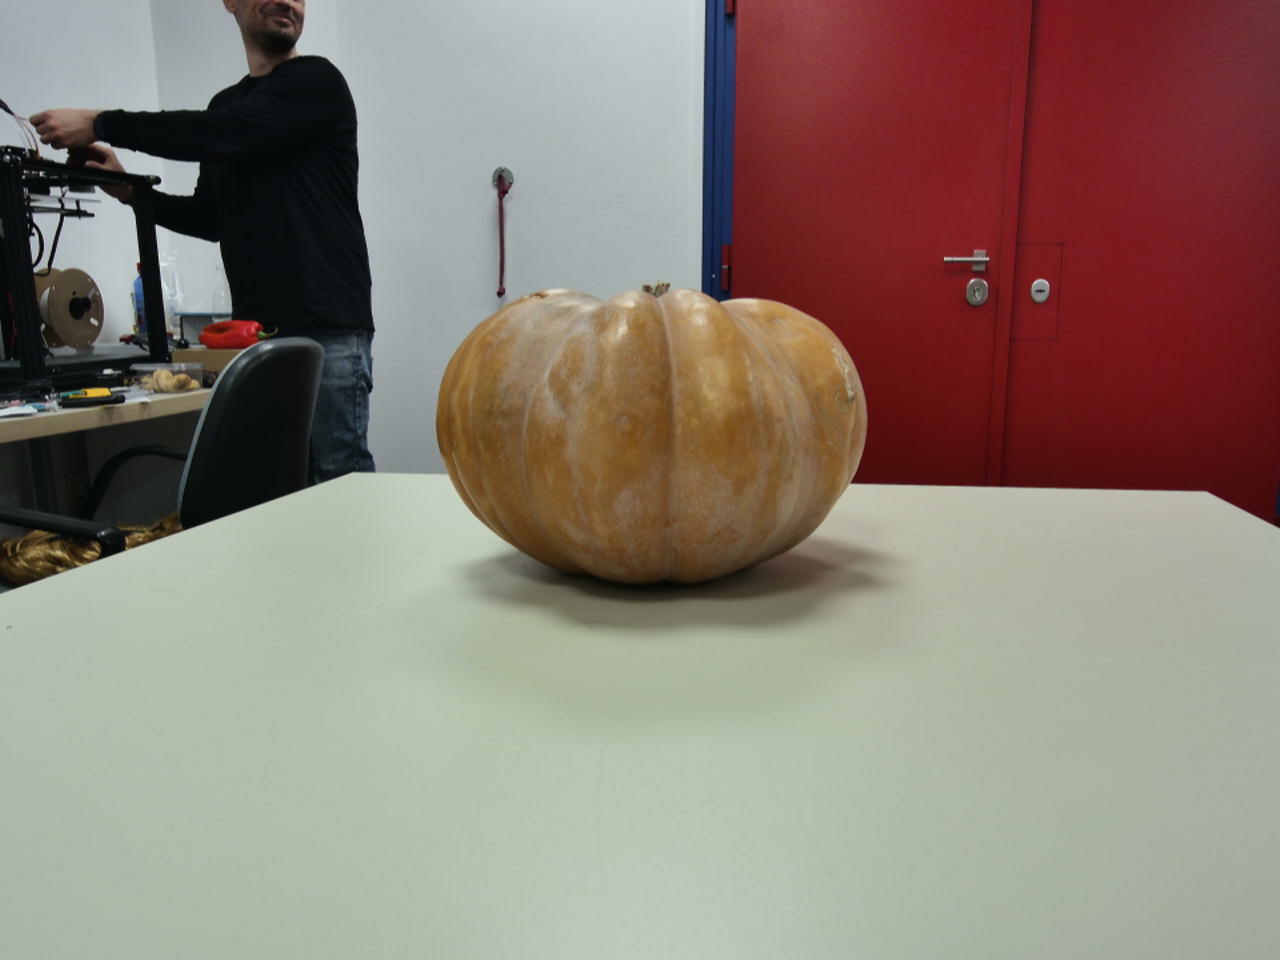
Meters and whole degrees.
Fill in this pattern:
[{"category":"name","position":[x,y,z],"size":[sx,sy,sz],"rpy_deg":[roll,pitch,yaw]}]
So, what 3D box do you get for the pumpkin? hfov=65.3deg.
[{"category":"pumpkin","position":[0.006,-0.034,0.636],"size":[0.277,0.181,0.277],"rpy_deg":[0,8,0]}]
